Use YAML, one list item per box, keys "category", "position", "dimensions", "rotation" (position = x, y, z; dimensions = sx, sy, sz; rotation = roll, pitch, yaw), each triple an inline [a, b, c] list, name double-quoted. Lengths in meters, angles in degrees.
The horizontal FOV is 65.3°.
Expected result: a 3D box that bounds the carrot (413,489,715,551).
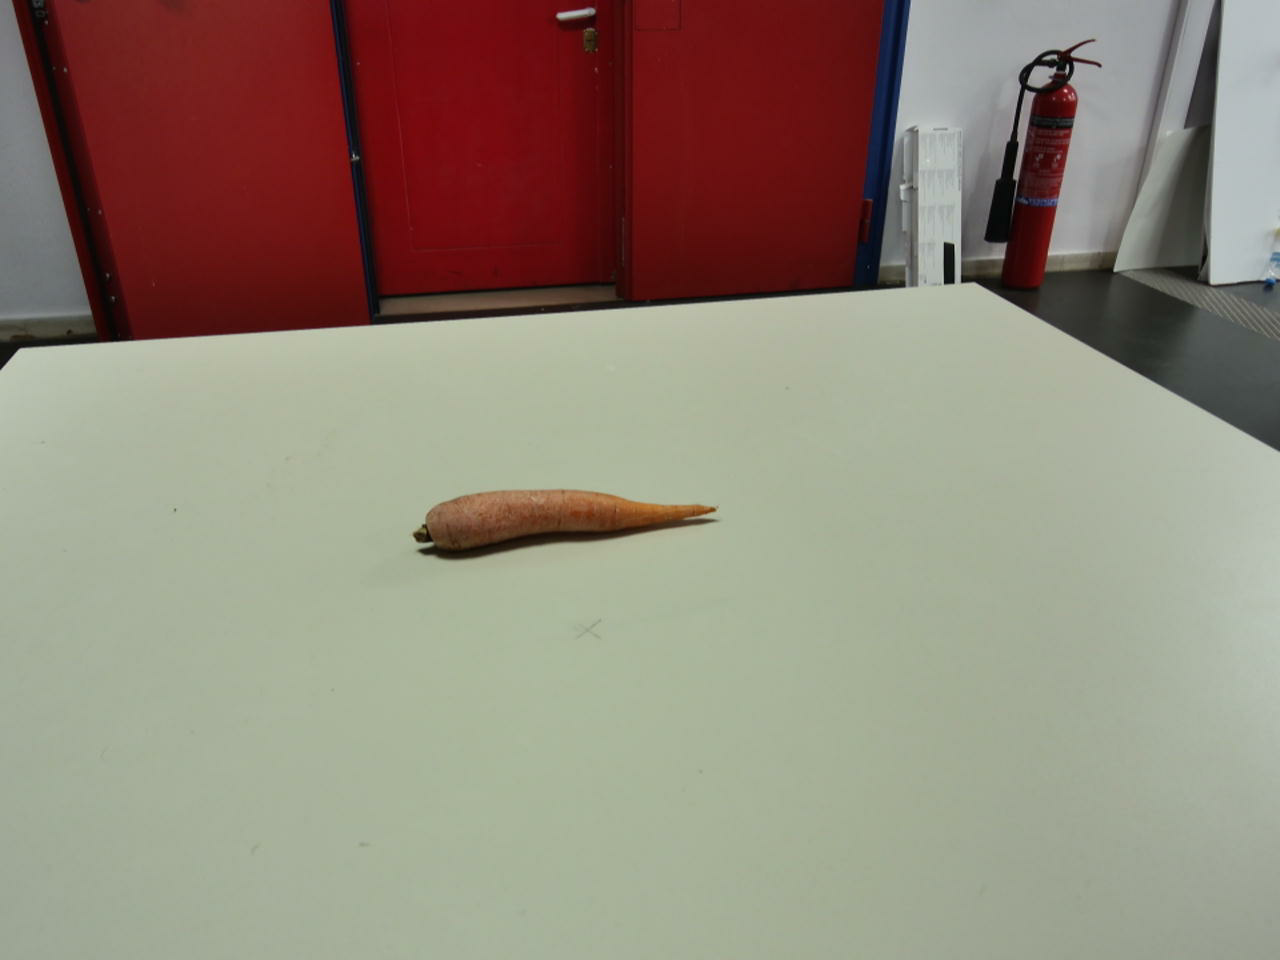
- category: "carrot"
  position: [-0.039, 0.017, 0.540]
  dimensions: [0.163, 0.029, 0.031]
  rotation: [-6, 26, -11]
